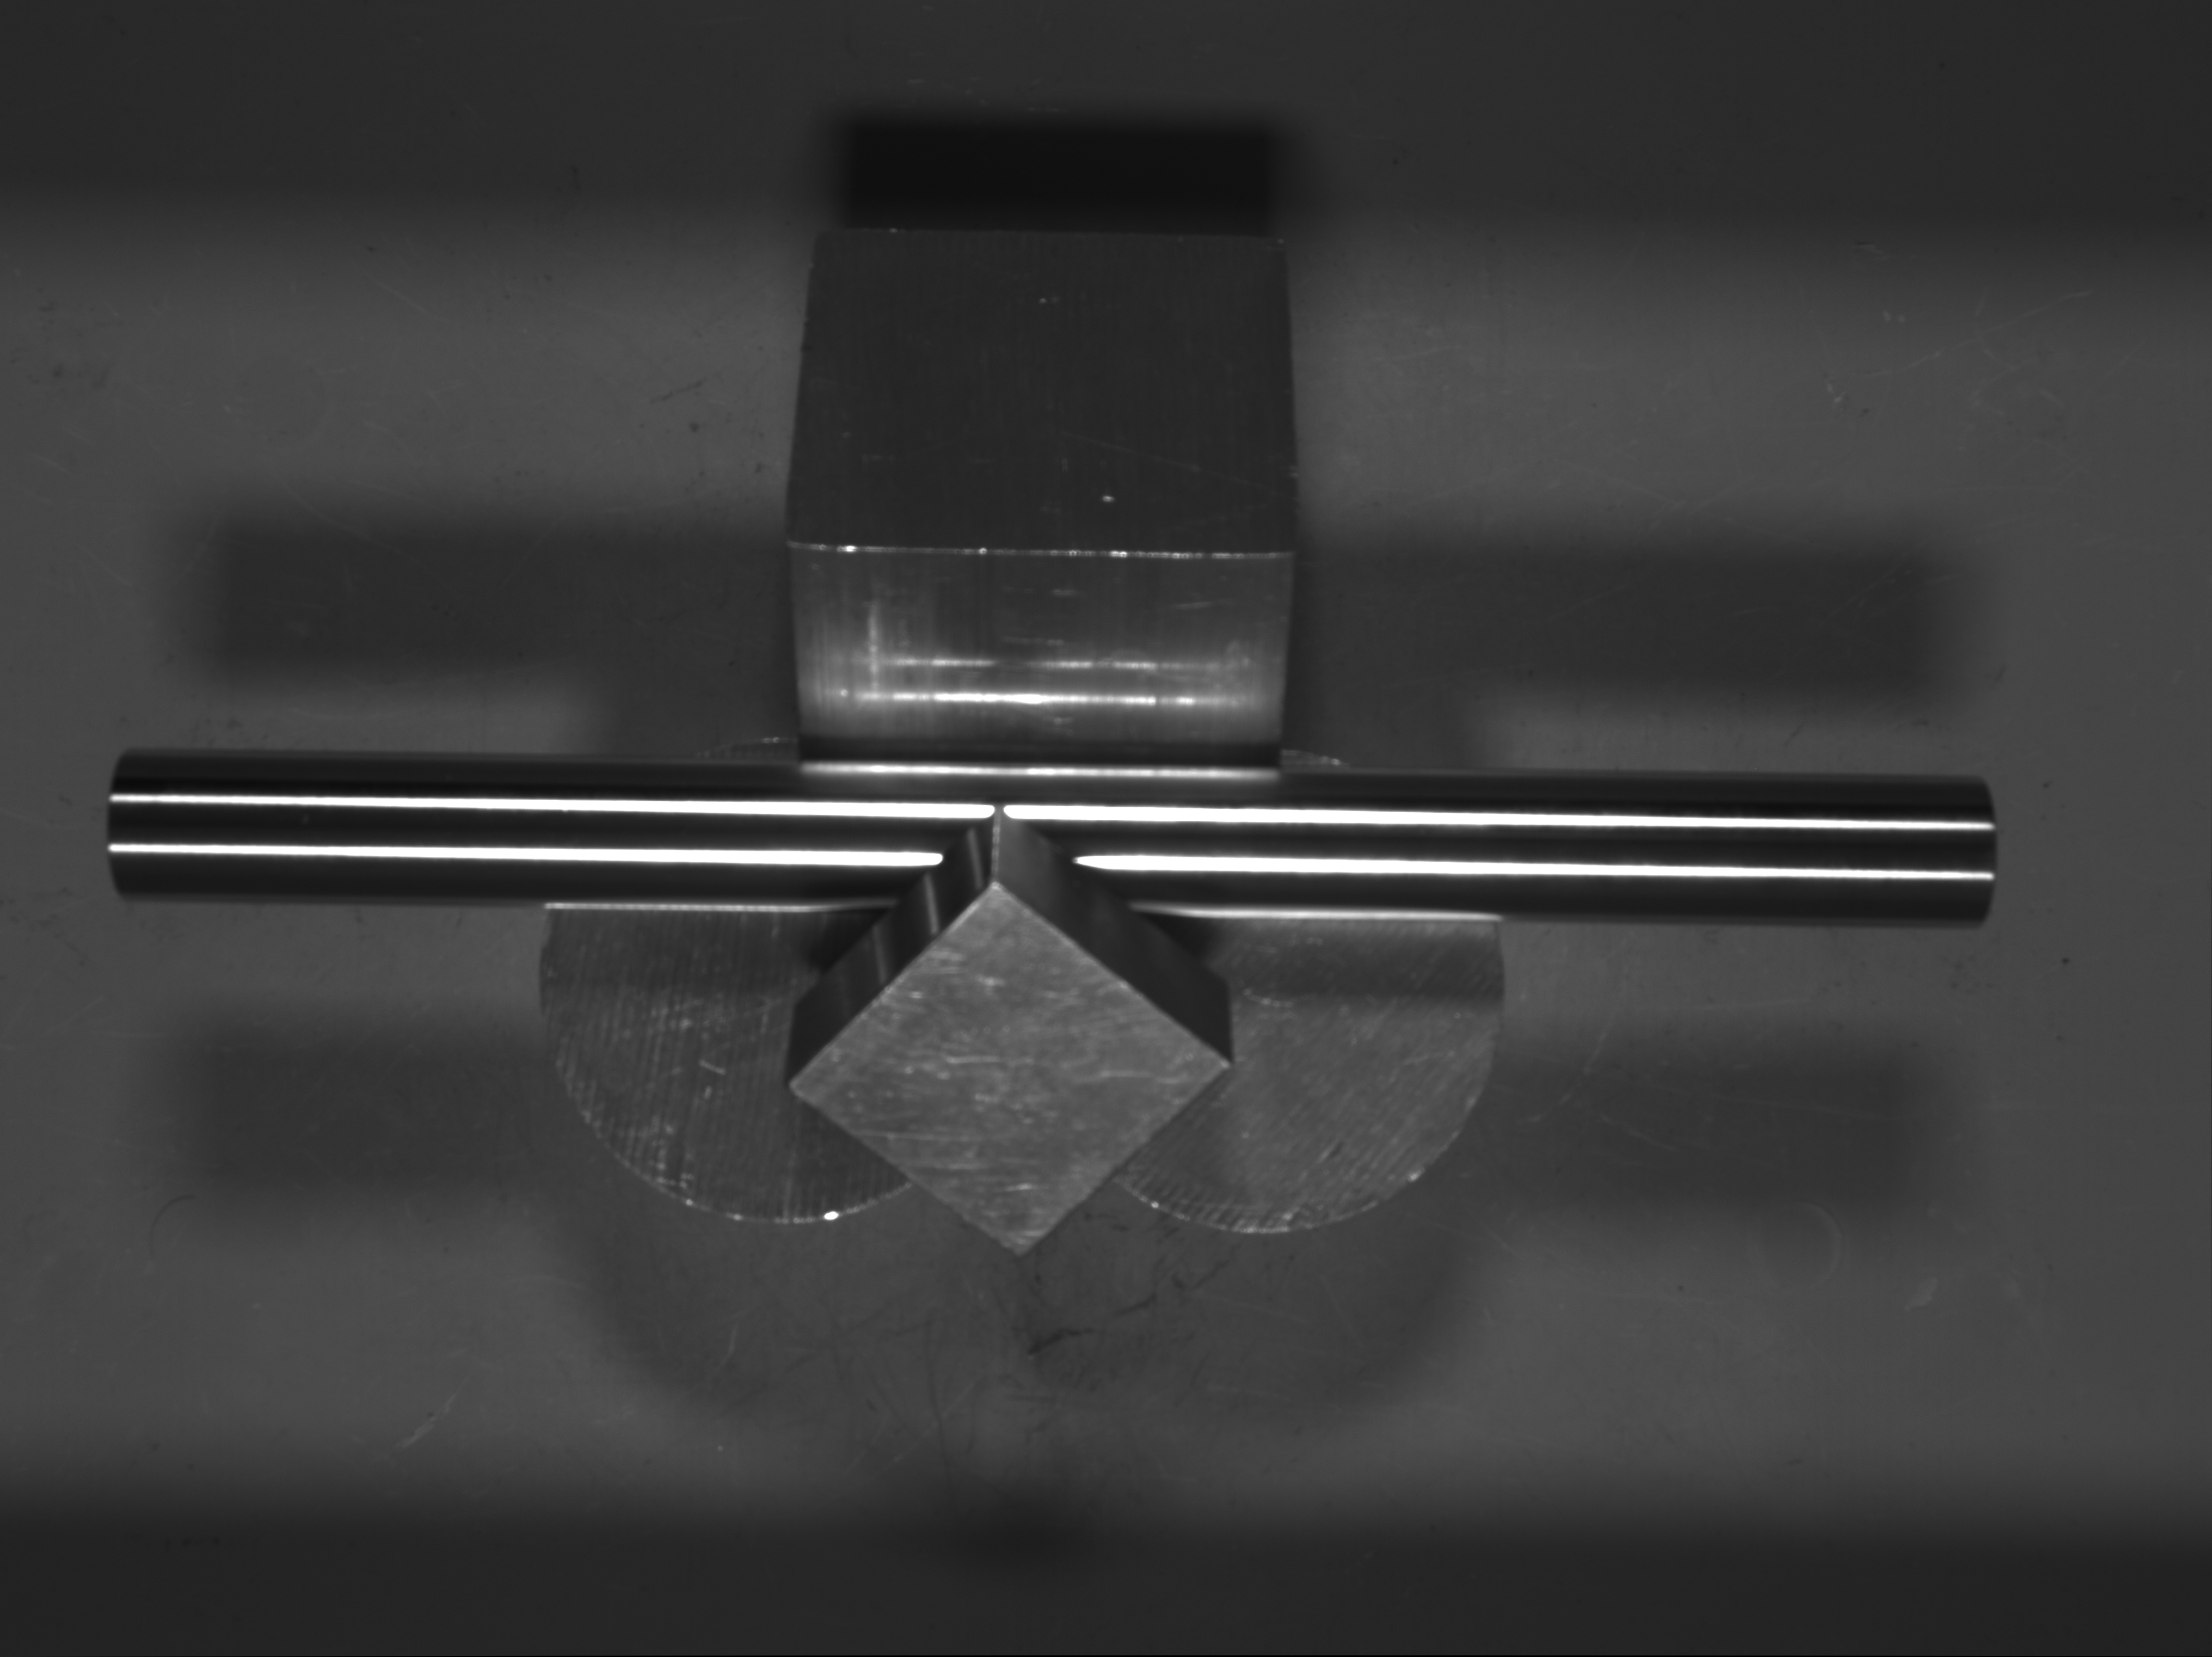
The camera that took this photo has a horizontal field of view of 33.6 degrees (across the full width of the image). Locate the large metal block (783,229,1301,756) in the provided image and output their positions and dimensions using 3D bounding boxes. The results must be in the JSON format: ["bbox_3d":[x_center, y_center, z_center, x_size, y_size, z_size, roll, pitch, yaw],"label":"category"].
[{"bbox_3d":[-0.010,-0.055,0.611,0.080,0.050,0.080,1,47,0],"label":"large metal block"}]

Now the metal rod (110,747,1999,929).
[{"bbox_3d":[-0.008,0.002,0.594,0.300,0.025,0.025,1,90,-1],"label":"metal rod"}]

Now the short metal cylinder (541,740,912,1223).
[{"bbox_3d":[-0.054,0.025,0.631,0.080,0.050,0.080,0,90,0],"label":"short metal cylinder"}]

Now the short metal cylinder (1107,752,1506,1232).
[{"bbox_3d":[0.026,0.027,0.632,0.080,0.050,0.080,0,90,0],"label":"short metal cylinder"}]

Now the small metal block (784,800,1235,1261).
[{"bbox_3d":[-0.015,0.033,0.583,0.050,0.025,0.050,38,112,-19],"label":"small metal block"}]
